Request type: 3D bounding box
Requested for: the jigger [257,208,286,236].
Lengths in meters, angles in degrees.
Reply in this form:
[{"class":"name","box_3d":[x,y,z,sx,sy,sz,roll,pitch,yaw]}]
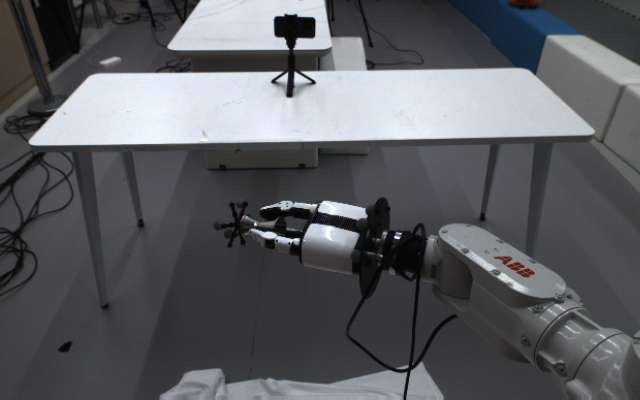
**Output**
[{"class":"jigger","box_3d":[-0.089,0.040,0.822,0.071,0.043,0.043,4,33,24]}]
